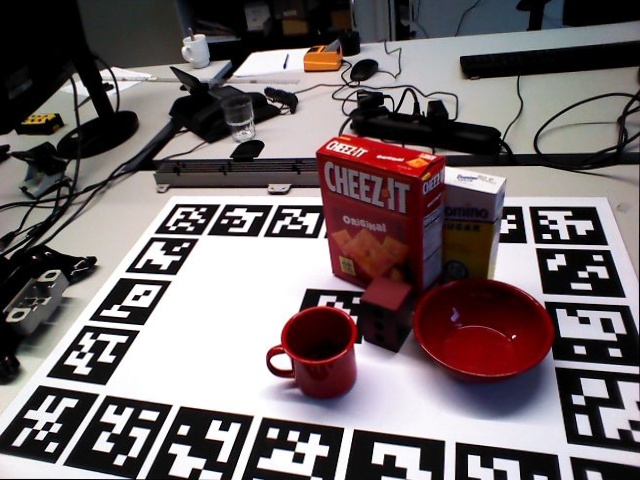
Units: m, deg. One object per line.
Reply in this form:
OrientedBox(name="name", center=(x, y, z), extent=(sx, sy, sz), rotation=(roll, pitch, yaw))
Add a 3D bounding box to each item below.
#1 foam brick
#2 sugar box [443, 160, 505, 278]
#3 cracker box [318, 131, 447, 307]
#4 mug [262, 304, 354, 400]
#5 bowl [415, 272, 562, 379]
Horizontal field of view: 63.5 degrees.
OrientedBox(name="foam brick", center=(0.087, 0.091, 0.677), extent=(0.053, 0.078, 0.051), rotation=(12, 41, 29))
OrientedBox(name="sugar box", center=(0.197, -0.019, 0.704), extent=(0.093, 0.177, 0.045), rotation=(17, 44, 33))
OrientedBox(name="cracker box", center=(0.084, -0.027, 0.715), extent=(0.165, 0.214, 0.071), rotation=(25, 47, 37))
OrientedBox(name="mug", center=(-0.016, 0.137, 0.625), extent=(0.118, 0.081, 0.093), rotation=(-5, 29, 10))
OrientedBox(name="bowl", center=(0.197, 0.110, 0.617), extent=(0.162, 0.055, 0.161), rotation=(-7, 37, 5))
